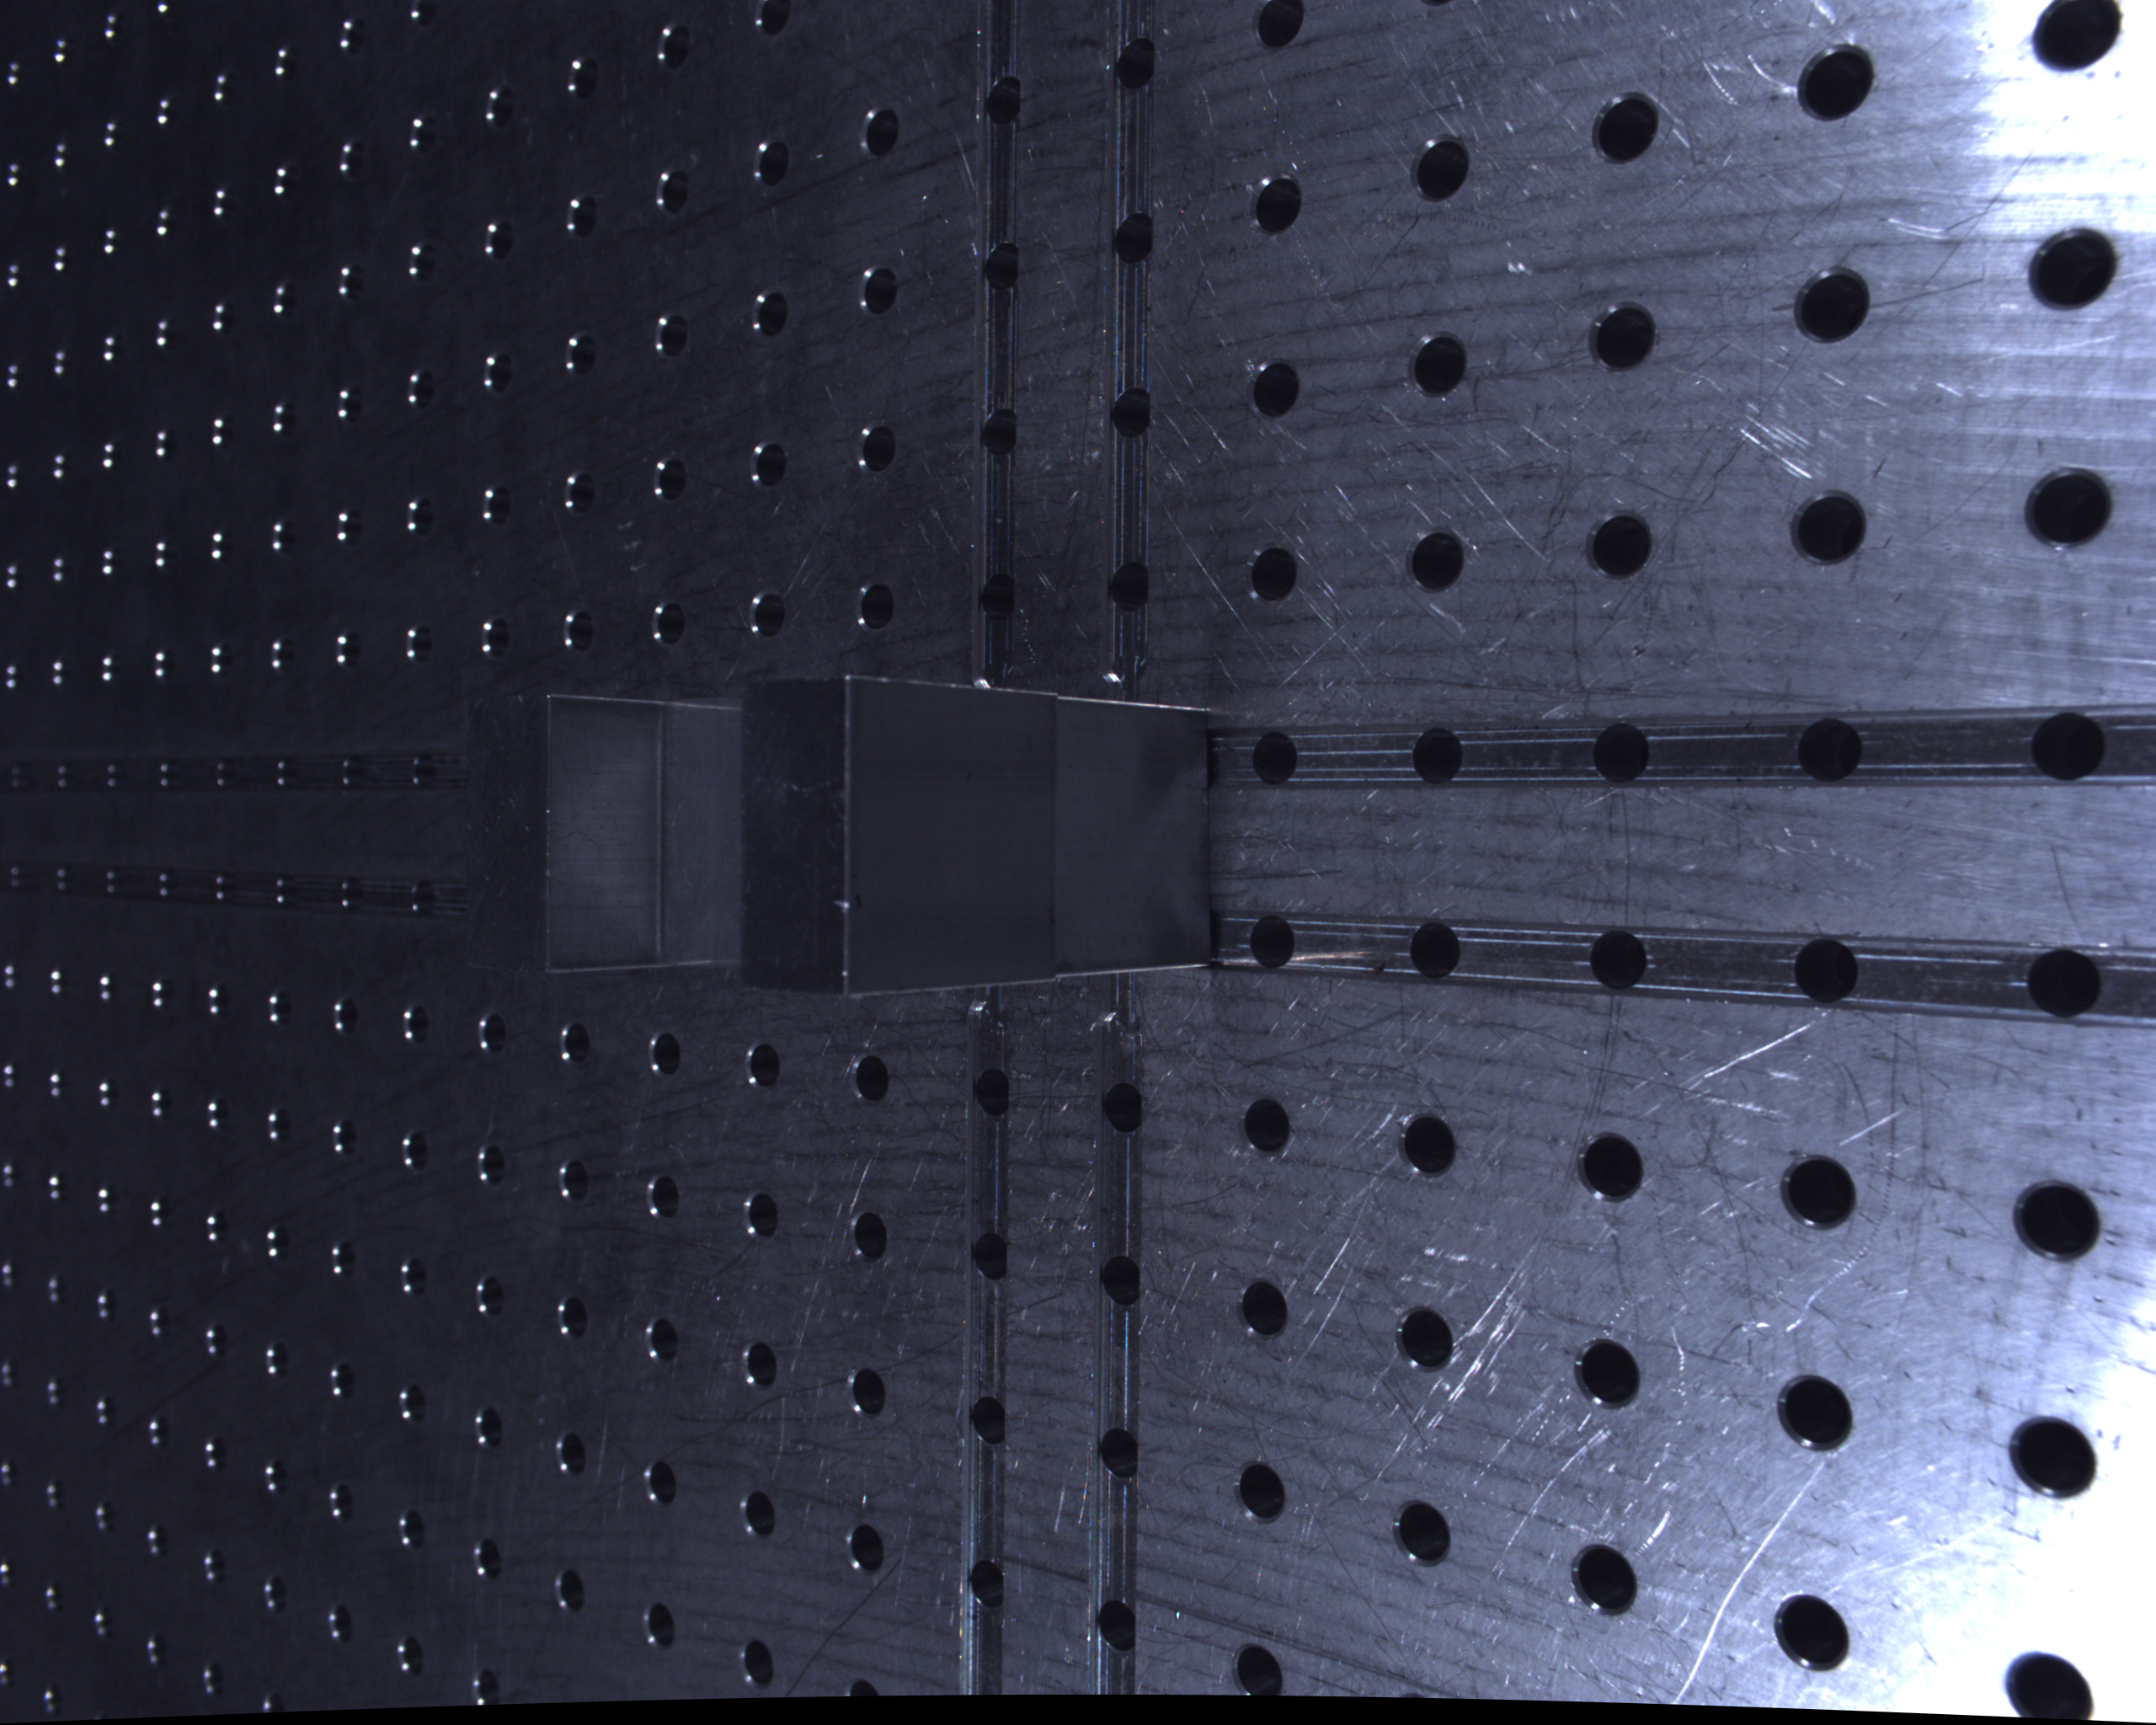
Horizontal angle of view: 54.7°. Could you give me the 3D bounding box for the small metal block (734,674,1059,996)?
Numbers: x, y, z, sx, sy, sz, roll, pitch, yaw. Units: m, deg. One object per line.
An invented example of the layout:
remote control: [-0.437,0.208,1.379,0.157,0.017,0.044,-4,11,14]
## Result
small metal block: [-0.029,-0.004,0.348,0.025,0.050,0.050,1,90,40]

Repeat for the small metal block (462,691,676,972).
small metal block: [-0.088,-0.006,0.397,0.025,0.050,0.050,1,90,40]

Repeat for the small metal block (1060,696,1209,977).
small metal block: [-0.001,-0.005,0.391,0.025,0.050,0.050,-1,90,40]

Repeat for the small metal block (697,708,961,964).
small metal block: [-0.051,-0.005,0.432,0.025,0.050,0.050,1,91,40]

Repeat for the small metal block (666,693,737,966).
small metal block: [-0.050,-0.006,0.384,0.050,0.025,0.050,1,91,39]
